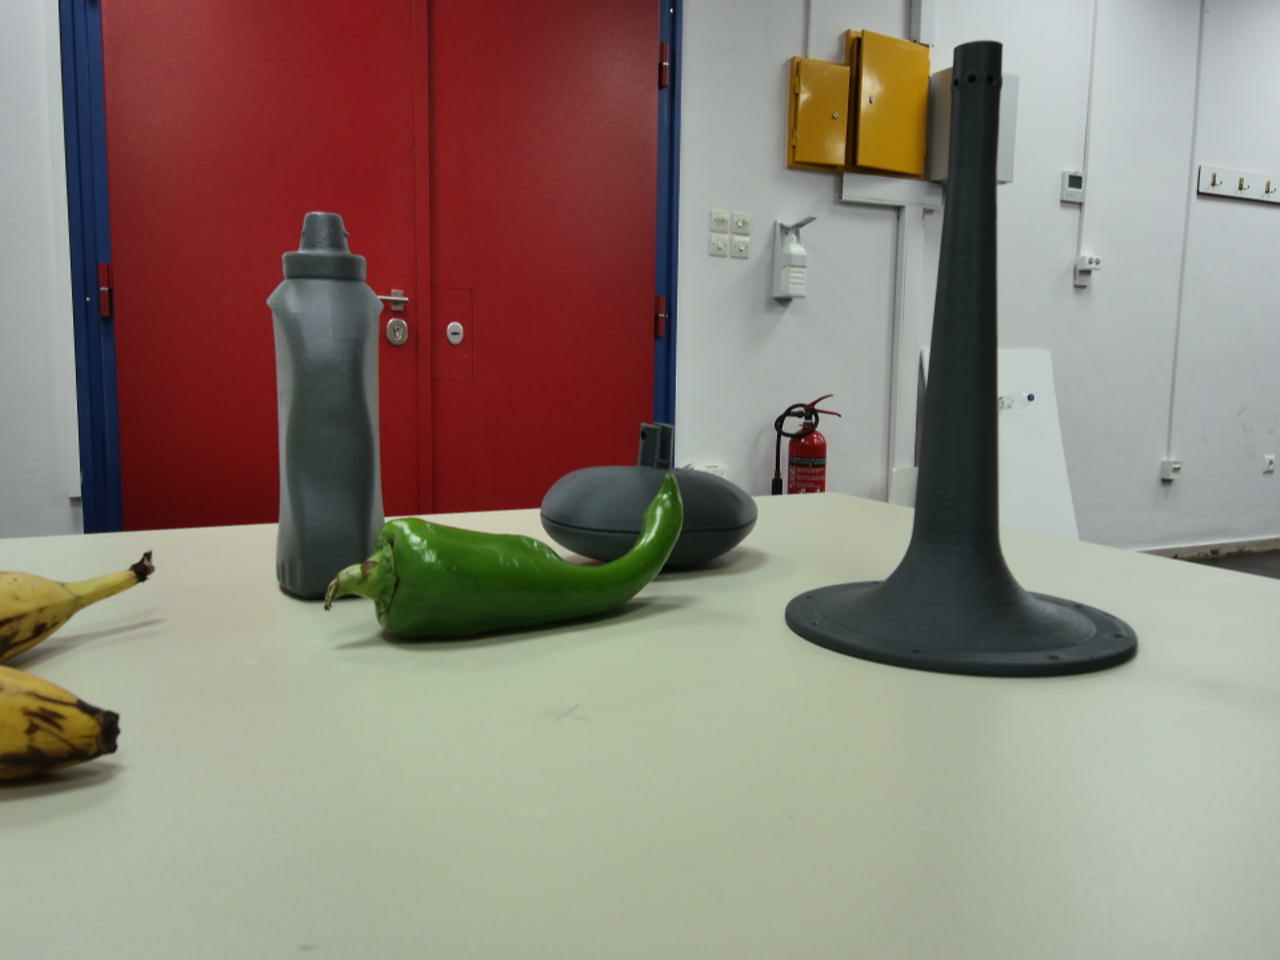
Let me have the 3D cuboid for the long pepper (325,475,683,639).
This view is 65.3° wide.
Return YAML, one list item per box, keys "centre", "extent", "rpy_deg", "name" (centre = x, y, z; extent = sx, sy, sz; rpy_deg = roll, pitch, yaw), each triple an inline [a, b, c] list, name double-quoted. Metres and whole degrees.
- centre: [-0.052, 0.033, 0.449]
  extent: [0.175, 0.065, 0.058]
  rpy_deg: [-3, 5, -28]
  name: "long pepper"
